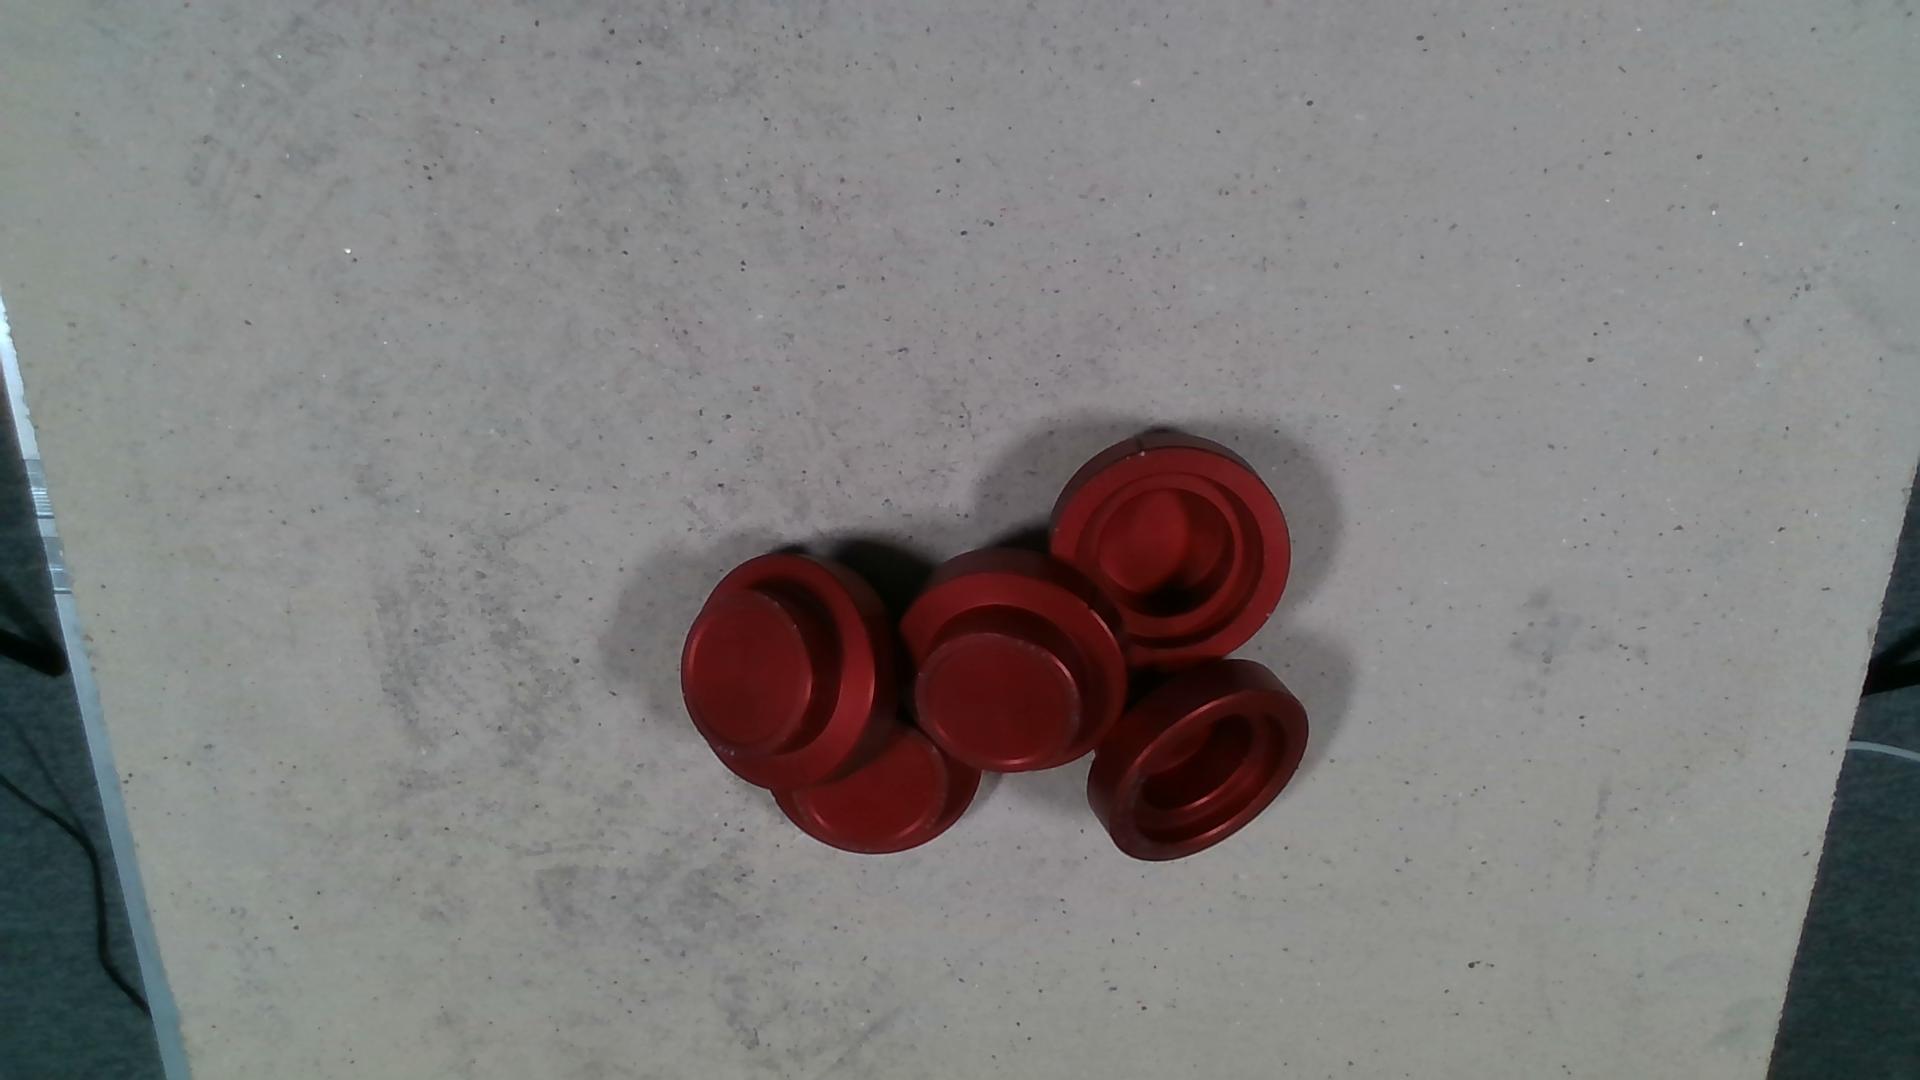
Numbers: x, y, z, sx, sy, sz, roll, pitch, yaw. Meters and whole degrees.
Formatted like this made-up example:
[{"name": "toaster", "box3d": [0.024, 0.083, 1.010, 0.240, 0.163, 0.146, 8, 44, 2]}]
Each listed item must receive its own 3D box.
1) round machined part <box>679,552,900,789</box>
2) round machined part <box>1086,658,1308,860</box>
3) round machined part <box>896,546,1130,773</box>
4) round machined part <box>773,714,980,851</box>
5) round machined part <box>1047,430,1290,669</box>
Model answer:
[{"name": "round machined part", "box3d": [-0.077, 0.054, 0.569, 0.098, 0.042, 0.098, -2, 87, 32]}, {"name": "round machined part", "box3d": [0.097, 0.088, 0.594, 0.098, 0.042, 0.098, -16, 132, -19]}, {"name": "round machined part", "box3d": [0.019, 0.055, 0.561, 0.098, 0.042, 0.098, 5, 119, 9]}, {"name": "round machined part", "box3d": [-0.039, 0.098, 0.612, 0.098, 0.042, 0.098, 0, 110, 0]}, {"name": "round machined part", "box3d": [0.085, 0.001, 0.576, 0.098, 0.042, 0.098, 0, 110, 0]}]
